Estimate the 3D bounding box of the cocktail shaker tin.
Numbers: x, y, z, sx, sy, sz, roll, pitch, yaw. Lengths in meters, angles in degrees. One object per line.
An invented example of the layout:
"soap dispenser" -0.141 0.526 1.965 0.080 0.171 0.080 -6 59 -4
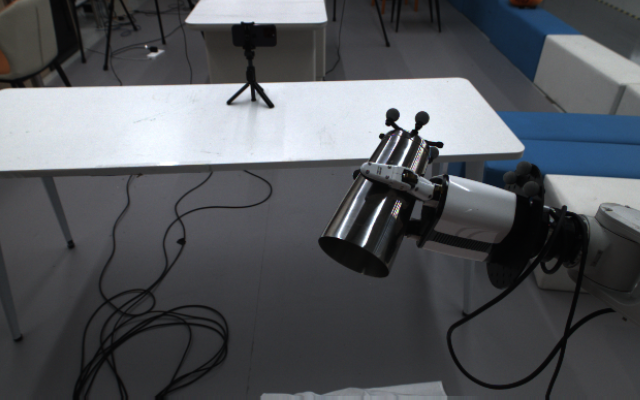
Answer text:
"cocktail shaker tin" 0.079 -0.004 0.595 0.093 0.093 0.170 18 66 21
